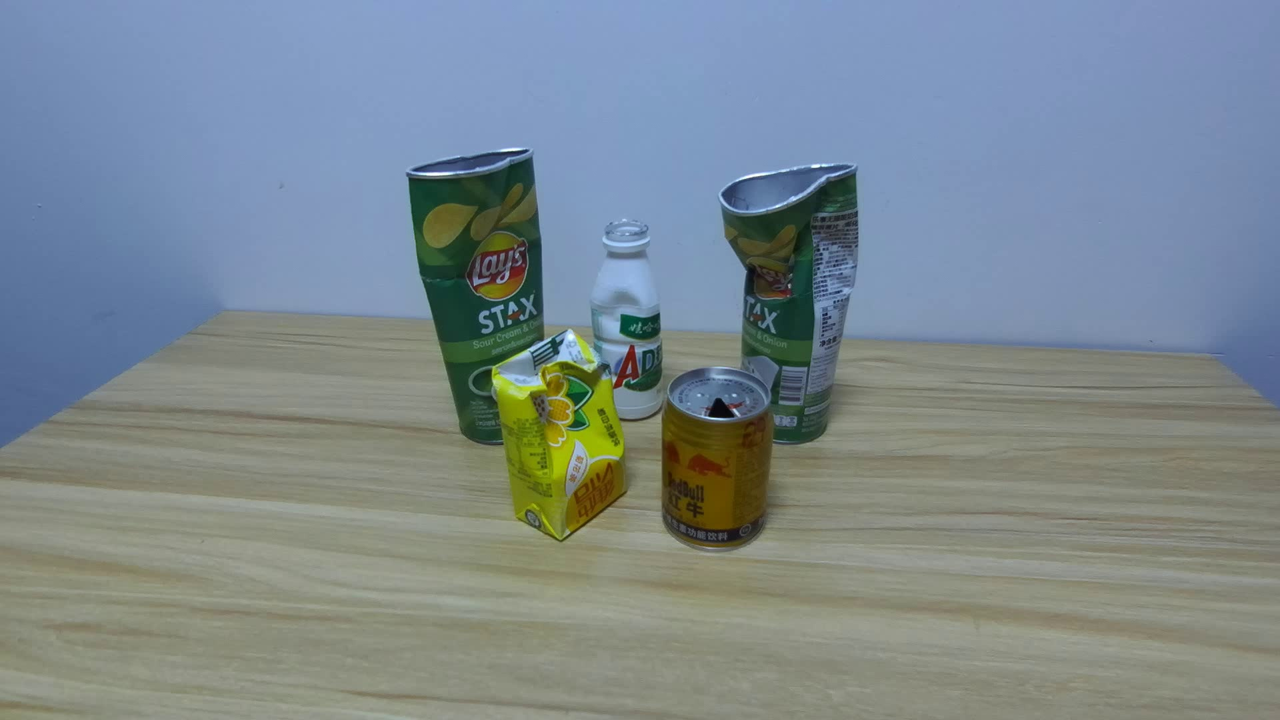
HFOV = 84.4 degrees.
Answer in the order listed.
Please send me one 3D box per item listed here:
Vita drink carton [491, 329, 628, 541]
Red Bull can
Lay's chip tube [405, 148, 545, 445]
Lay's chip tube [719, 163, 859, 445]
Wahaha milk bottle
[{"bbox_3d":[-0.046,0.046,0.434,0.046,0.110,0.071,18,34,36],"label":"Vita drink carton"},{"bbox_3d":[0.046,0.058,0.424,0.067,0.093,0.067,0,28,0],"label":"Red Bull can"},{"bbox_3d":[-0.107,-0.042,0.506,0.069,0.199,0.075,2,28,5],"label":"Lay's chip tube"},{"bbox_3d":[0.100,-0.034,0.490,0.078,0.200,0.071,20,43,37],"label":"Lay's chip tube"},{"bbox_3d":[-0.008,-0.027,0.524,0.055,0.149,0.055,0,29,1],"label":"Wahaha milk bottle"}]
